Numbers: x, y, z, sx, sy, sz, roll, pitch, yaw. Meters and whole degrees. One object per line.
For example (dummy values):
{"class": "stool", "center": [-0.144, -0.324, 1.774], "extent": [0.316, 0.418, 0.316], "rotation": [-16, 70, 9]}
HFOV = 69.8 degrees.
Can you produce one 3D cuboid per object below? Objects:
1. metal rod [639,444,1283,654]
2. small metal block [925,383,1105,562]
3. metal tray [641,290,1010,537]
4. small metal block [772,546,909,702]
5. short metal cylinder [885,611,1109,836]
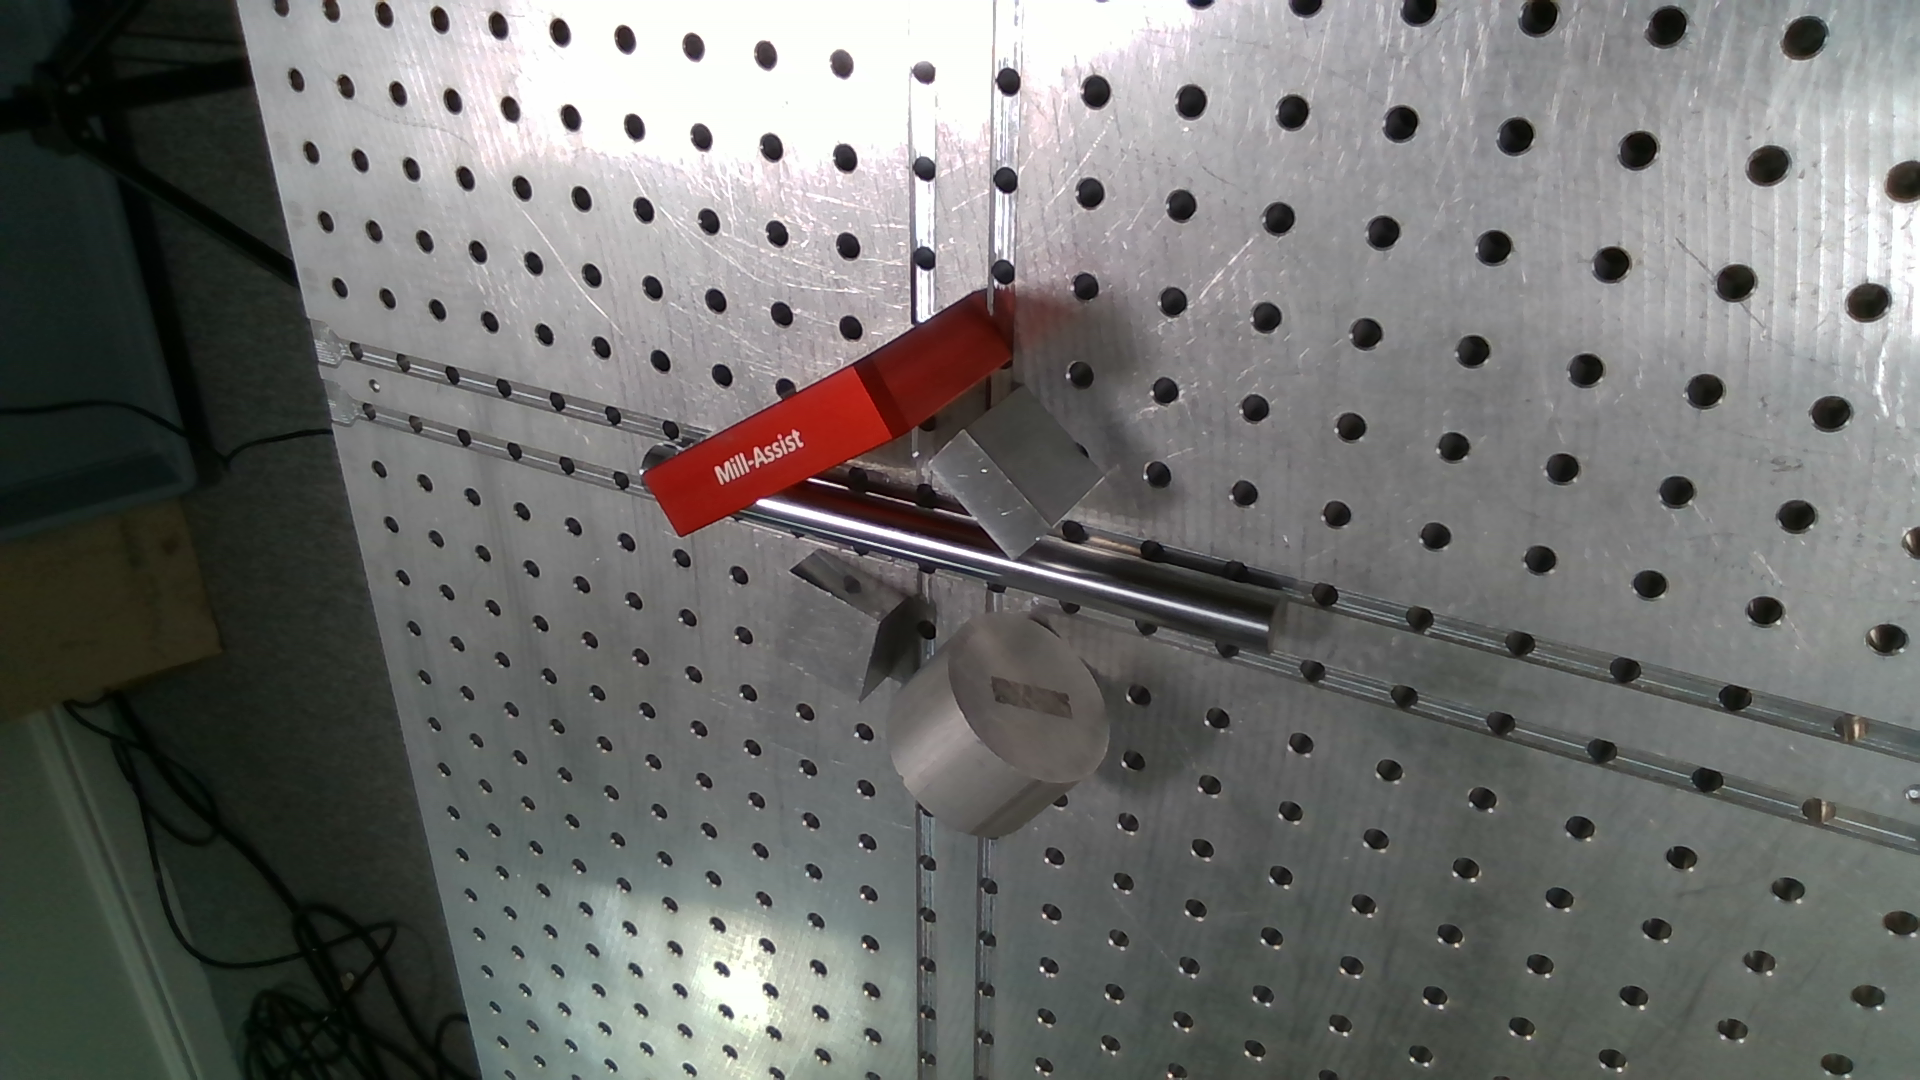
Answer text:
{"class": "metal rod", "center": [-0.011, -0.001, 0.589], "extent": [0.300, 0.025, 0.025], "rotation": [14, 122, 25]}
{"class": "small metal block", "center": [0.022, -0.027, 0.537], "extent": [0.050, 0.050, 0.025], "rotation": [48, 129, 0]}
{"class": "metal tray", "center": [-0.054, -0.049, 0.546], "extent": [0.130, 0.090, 0.030], "rotation": [-21, 103, 38]}
{"class": "small metal block", "center": [-0.056, 0.039, 0.639], "extent": [0.050, 0.025, 0.050], "rotation": [28, 126, 16]}
{"class": "short metal cylinder", "center": [0.016, 0.077, 0.580], "extent": [0.080, 0.080, 0.050], "rotation": [45, 129, 2]}
